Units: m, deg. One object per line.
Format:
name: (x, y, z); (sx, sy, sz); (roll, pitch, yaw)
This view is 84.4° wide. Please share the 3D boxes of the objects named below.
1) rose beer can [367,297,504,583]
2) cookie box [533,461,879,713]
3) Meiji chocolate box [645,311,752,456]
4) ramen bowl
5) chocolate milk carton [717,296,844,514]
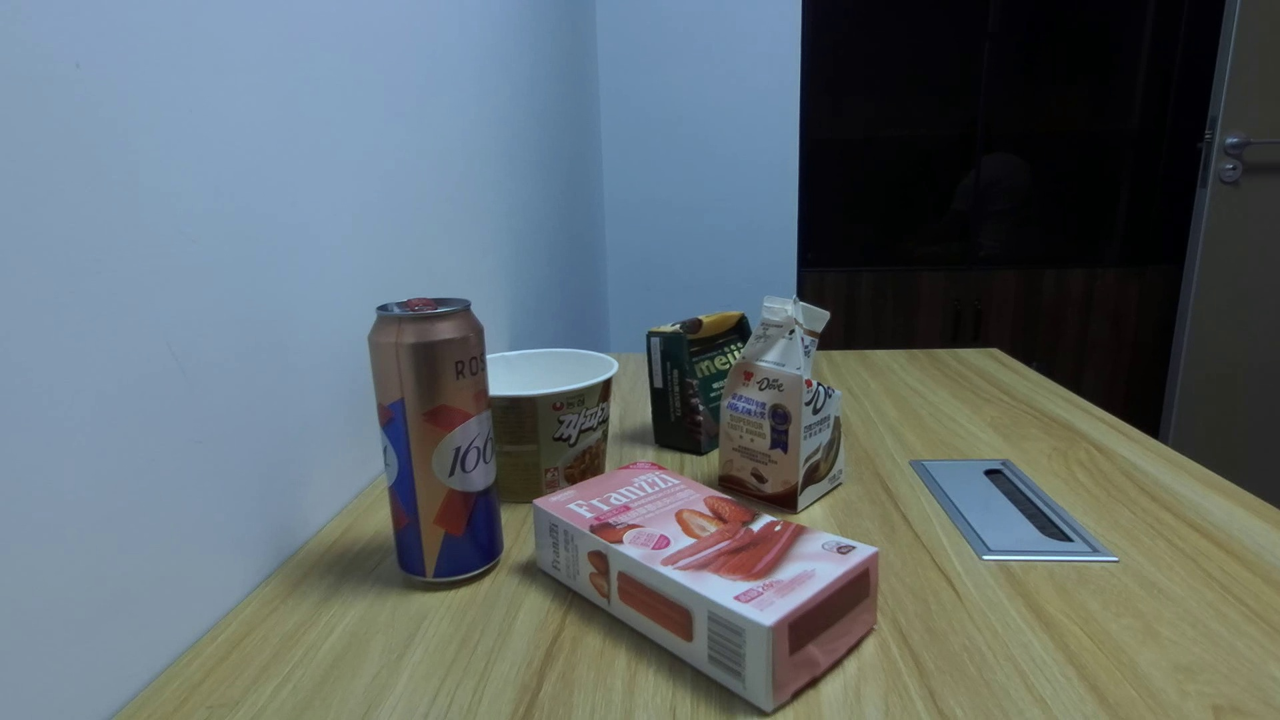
rose beer can: (-0.124, 0.051, 0.437); (0.068, 0.169, 0.068); (-1, 14, 0)
cookie box: (0.034, 0.113, 0.406); (0.105, 0.049, 0.186); (-14, 19, -41)
Meiji chocolate box: (0.064, 0.017, 0.660); (0.051, 0.117, 0.118); (-3, 9, 43)
ramen bowl: (-0.084, 0.051, 0.582); (0.140, 0.095, 0.140); (-1, 15, 1)
chocolate milk carton: (0.109, 0.025, 0.530); (0.073, 0.155, 0.076); (13, 20, 40)
